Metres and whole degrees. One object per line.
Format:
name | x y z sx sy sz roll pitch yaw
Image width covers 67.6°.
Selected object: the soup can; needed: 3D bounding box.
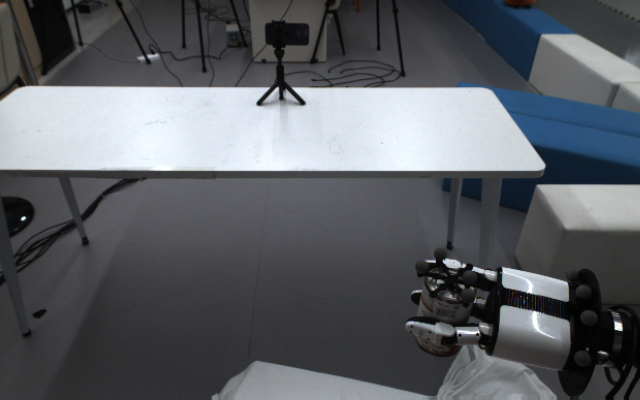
soup can | 0.167 0.148 0.645 0.067 0.101 0.067 2 32 -1
